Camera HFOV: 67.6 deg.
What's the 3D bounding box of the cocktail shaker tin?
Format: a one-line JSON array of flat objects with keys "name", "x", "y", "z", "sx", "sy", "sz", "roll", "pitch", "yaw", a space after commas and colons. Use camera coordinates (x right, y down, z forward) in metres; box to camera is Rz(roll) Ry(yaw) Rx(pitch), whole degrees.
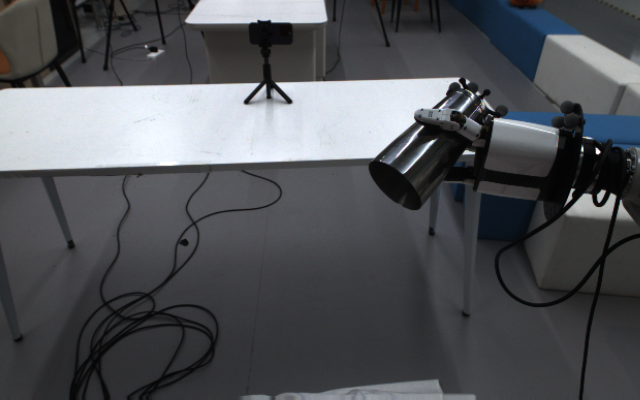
[{"name": "cocktail shaker tin", "x": 0.158, "y": -0.081, "z": 0.678, "sx": 0.170, "sy": 0.093, "sz": 0.093, "roll": -44, "pitch": 50, "yaw": -14}]
